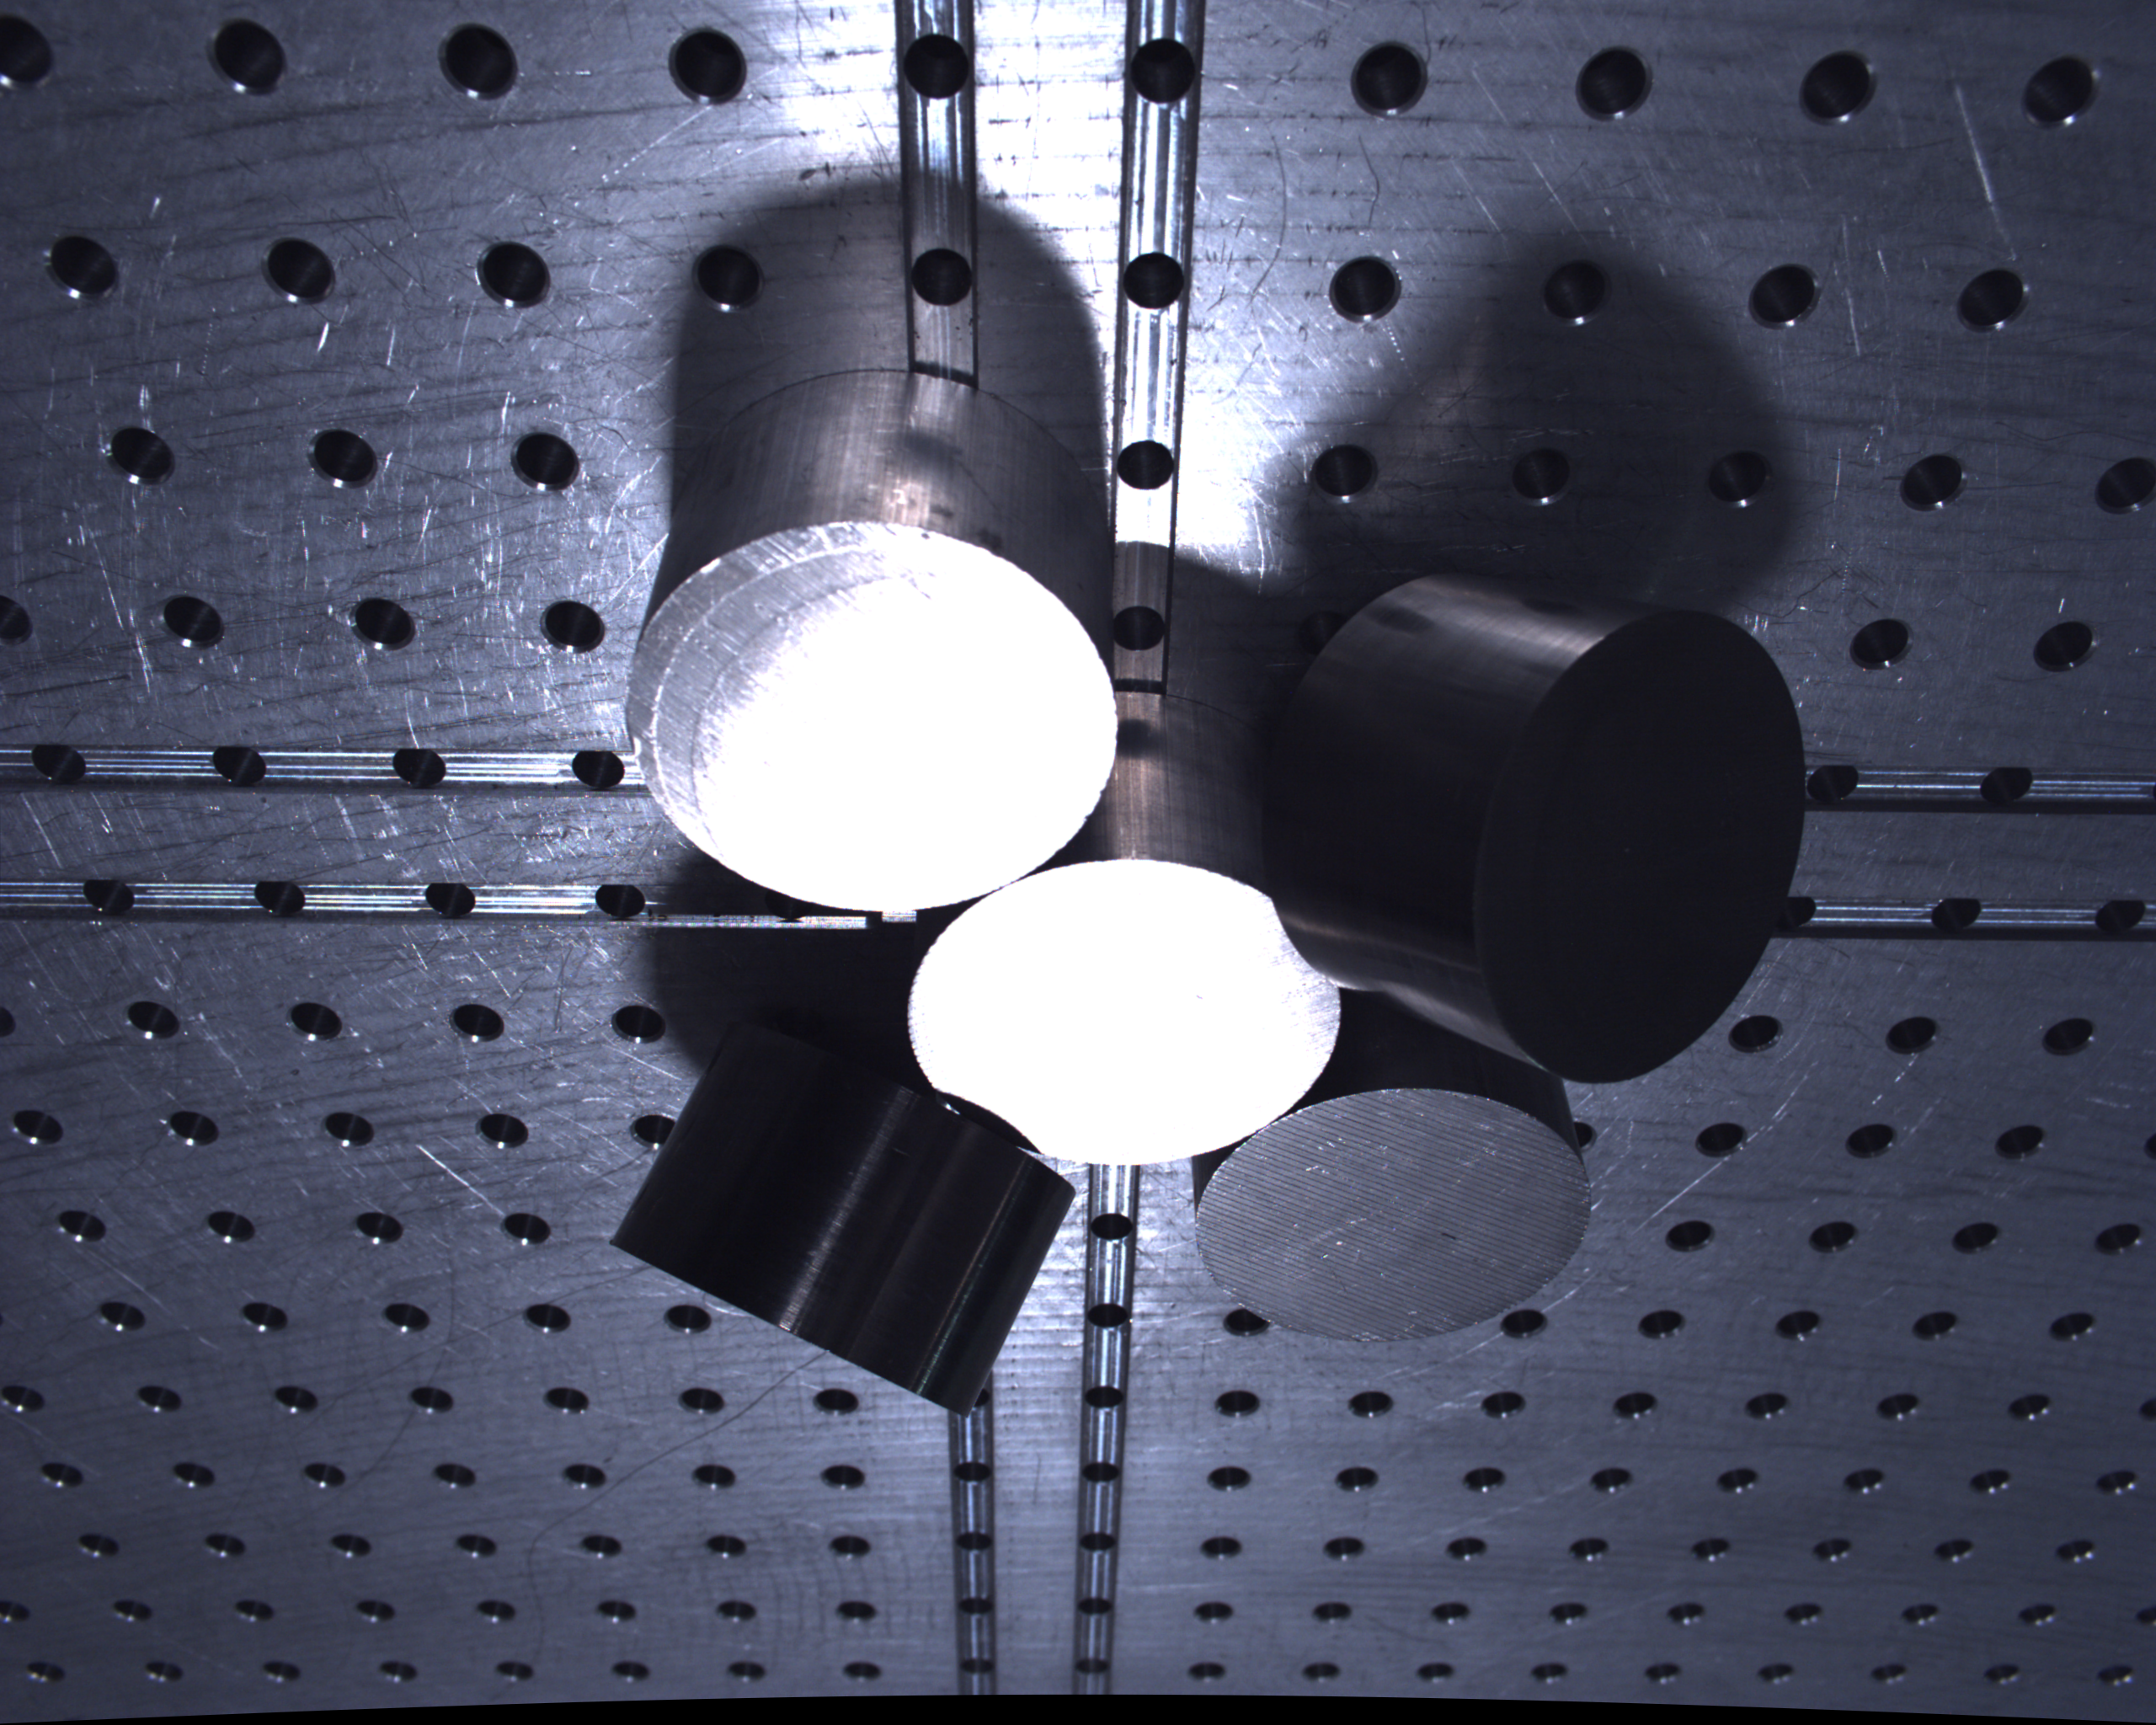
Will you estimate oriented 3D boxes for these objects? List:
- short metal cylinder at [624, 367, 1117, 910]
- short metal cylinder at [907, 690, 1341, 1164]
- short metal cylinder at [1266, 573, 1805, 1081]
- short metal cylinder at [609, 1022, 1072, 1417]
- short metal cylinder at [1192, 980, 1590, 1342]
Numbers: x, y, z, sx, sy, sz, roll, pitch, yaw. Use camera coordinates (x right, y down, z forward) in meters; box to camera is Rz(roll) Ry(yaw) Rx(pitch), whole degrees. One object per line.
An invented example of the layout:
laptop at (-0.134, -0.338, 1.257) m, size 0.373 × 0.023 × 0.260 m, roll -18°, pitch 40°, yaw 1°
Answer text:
short metal cylinder at (-0.034, -0.038, 0.362) m, size 0.081 × 0.050 × 0.079 m, roll 0°, pitch 130°, yaw 0°
short metal cylinder at (0.009, 0.013, 0.406) m, size 0.081 × 0.050 × 0.079 m, roll 0°, pitch 130°, yaw 0°
short metal cylinder at (0.080, -0.008, 0.363) m, size 0.081 × 0.050 × 0.079 m, roll -11°, pitch 109°, yaw -34°
short metal cylinder at (-0.048, 0.074, 0.430) m, size 0.080 × 0.050 × 0.080 m, roll 24°, pitch 166°, yaw 7°
short metal cylinder at (0.064, 0.057, 0.445) m, size 0.081 × 0.050 × 0.079 m, roll 0°, pitch 130°, yaw 0°
